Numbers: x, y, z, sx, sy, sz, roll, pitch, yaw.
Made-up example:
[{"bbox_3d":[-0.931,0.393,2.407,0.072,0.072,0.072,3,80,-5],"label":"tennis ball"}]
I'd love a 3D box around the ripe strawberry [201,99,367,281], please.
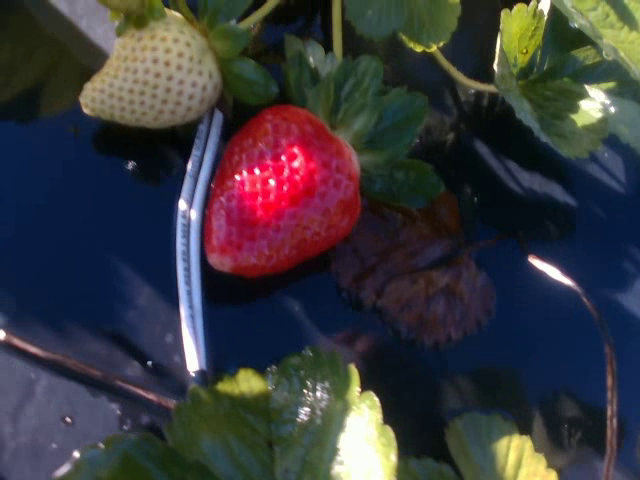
[{"bbox_3d":[-0.007,-0.015,0.197,0.040,0.063,0.080,-3,34,42],"label":"ripe strawberry"}]
